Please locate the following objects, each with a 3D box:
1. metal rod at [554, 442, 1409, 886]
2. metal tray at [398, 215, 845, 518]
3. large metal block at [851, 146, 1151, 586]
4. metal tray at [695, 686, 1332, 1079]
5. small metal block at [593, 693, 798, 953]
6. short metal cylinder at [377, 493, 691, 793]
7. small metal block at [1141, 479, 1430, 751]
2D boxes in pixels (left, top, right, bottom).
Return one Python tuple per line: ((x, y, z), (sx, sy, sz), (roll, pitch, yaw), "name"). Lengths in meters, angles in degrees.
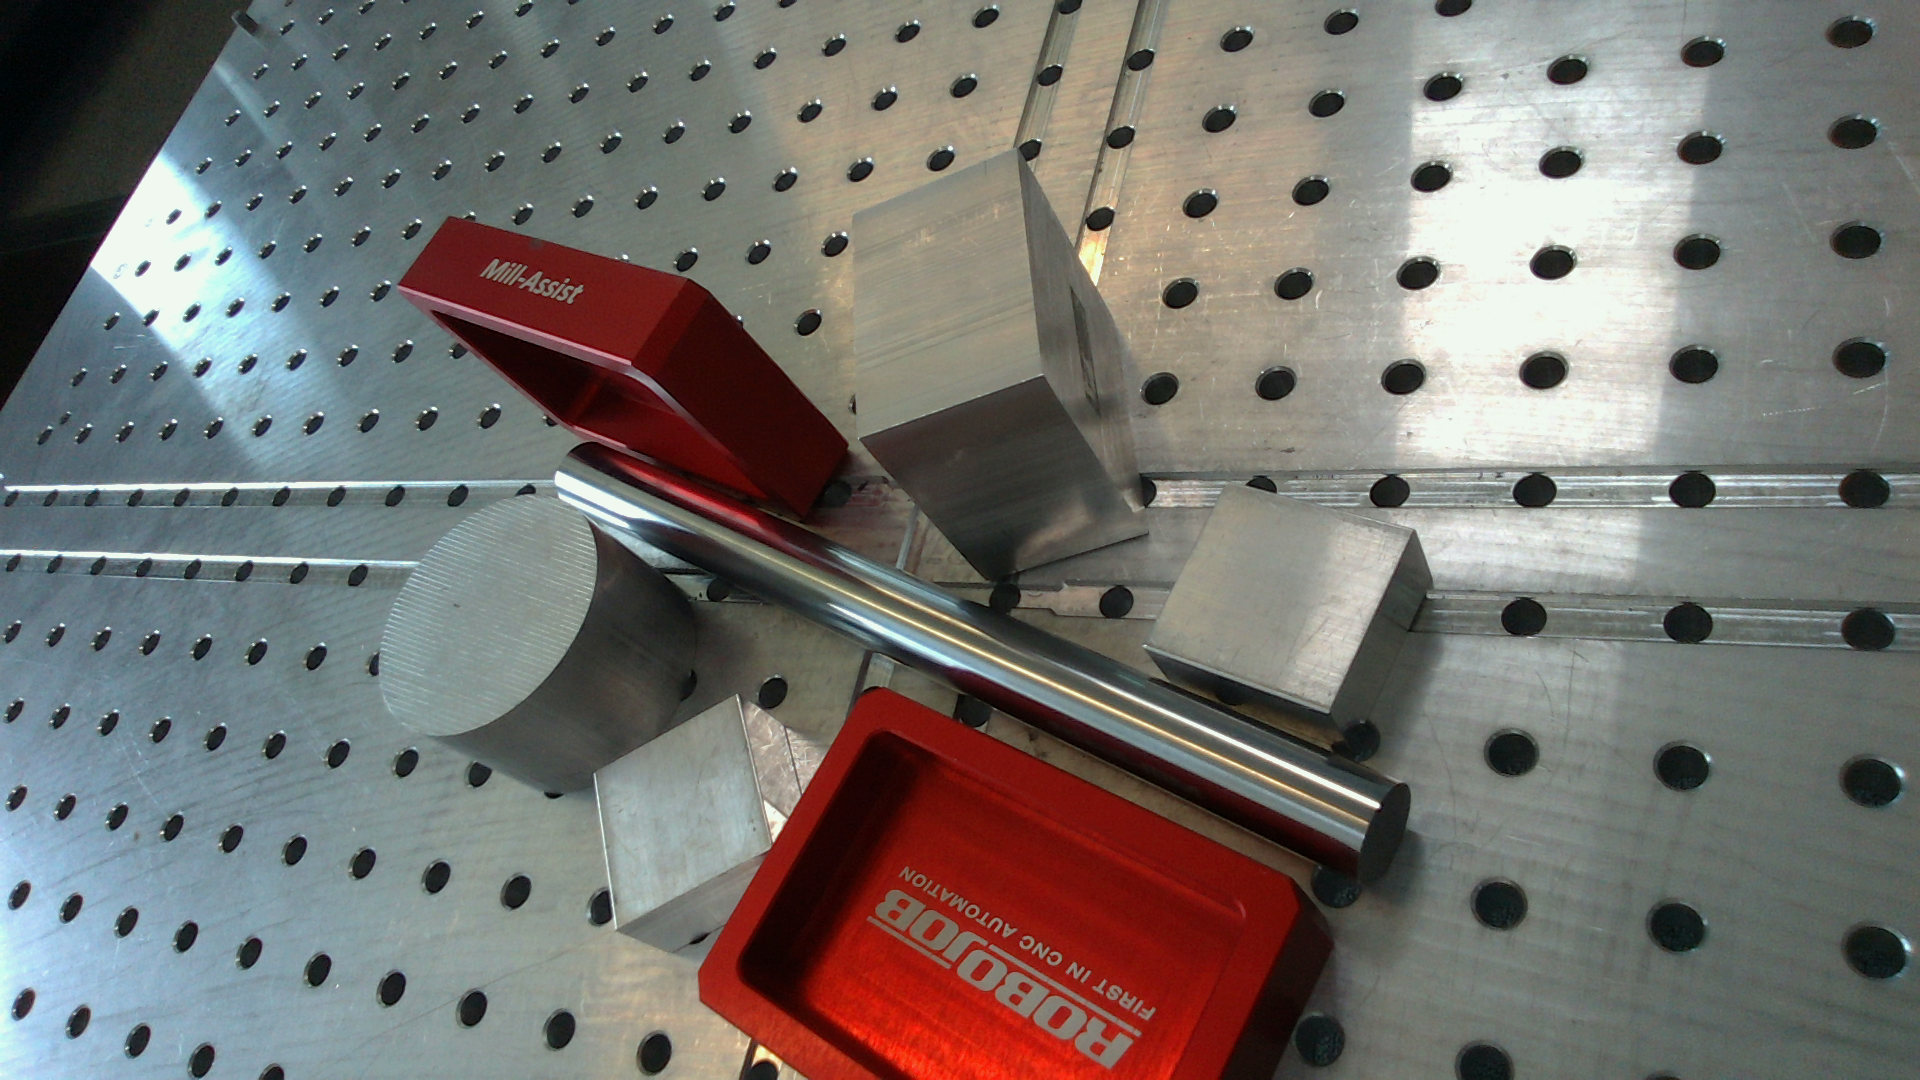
((-0.019, 0.021, 0.393), (0.299, 0.025, 0.025), (21, 73, 36), "metal rod")
((-0.110, -0.057, 0.448), (0.130, 0.090, 0.030), (20, 73, 36), "metal tray")
((0.012, -0.046, 0.385), (0.050, 0.080, 0.080), (-17, 55, 19), "large metal block")
((0.009, 0.099, 0.327), (0.130, 0.030, 0.090), (20, 72, 36), "metal tray")
((-0.072, 0.080, 0.388), (0.050, 0.025, 0.050), (-29, 52, 10), "small metal block")
((-0.132, 0.033, 0.431), (0.080, 0.050, 0.080), (-13, 56, 21), "short metal cylinder")
((0.081, 0.018, 0.342), (0.050, 0.025, 0.050), (18, 71, 35), "small metal block")
